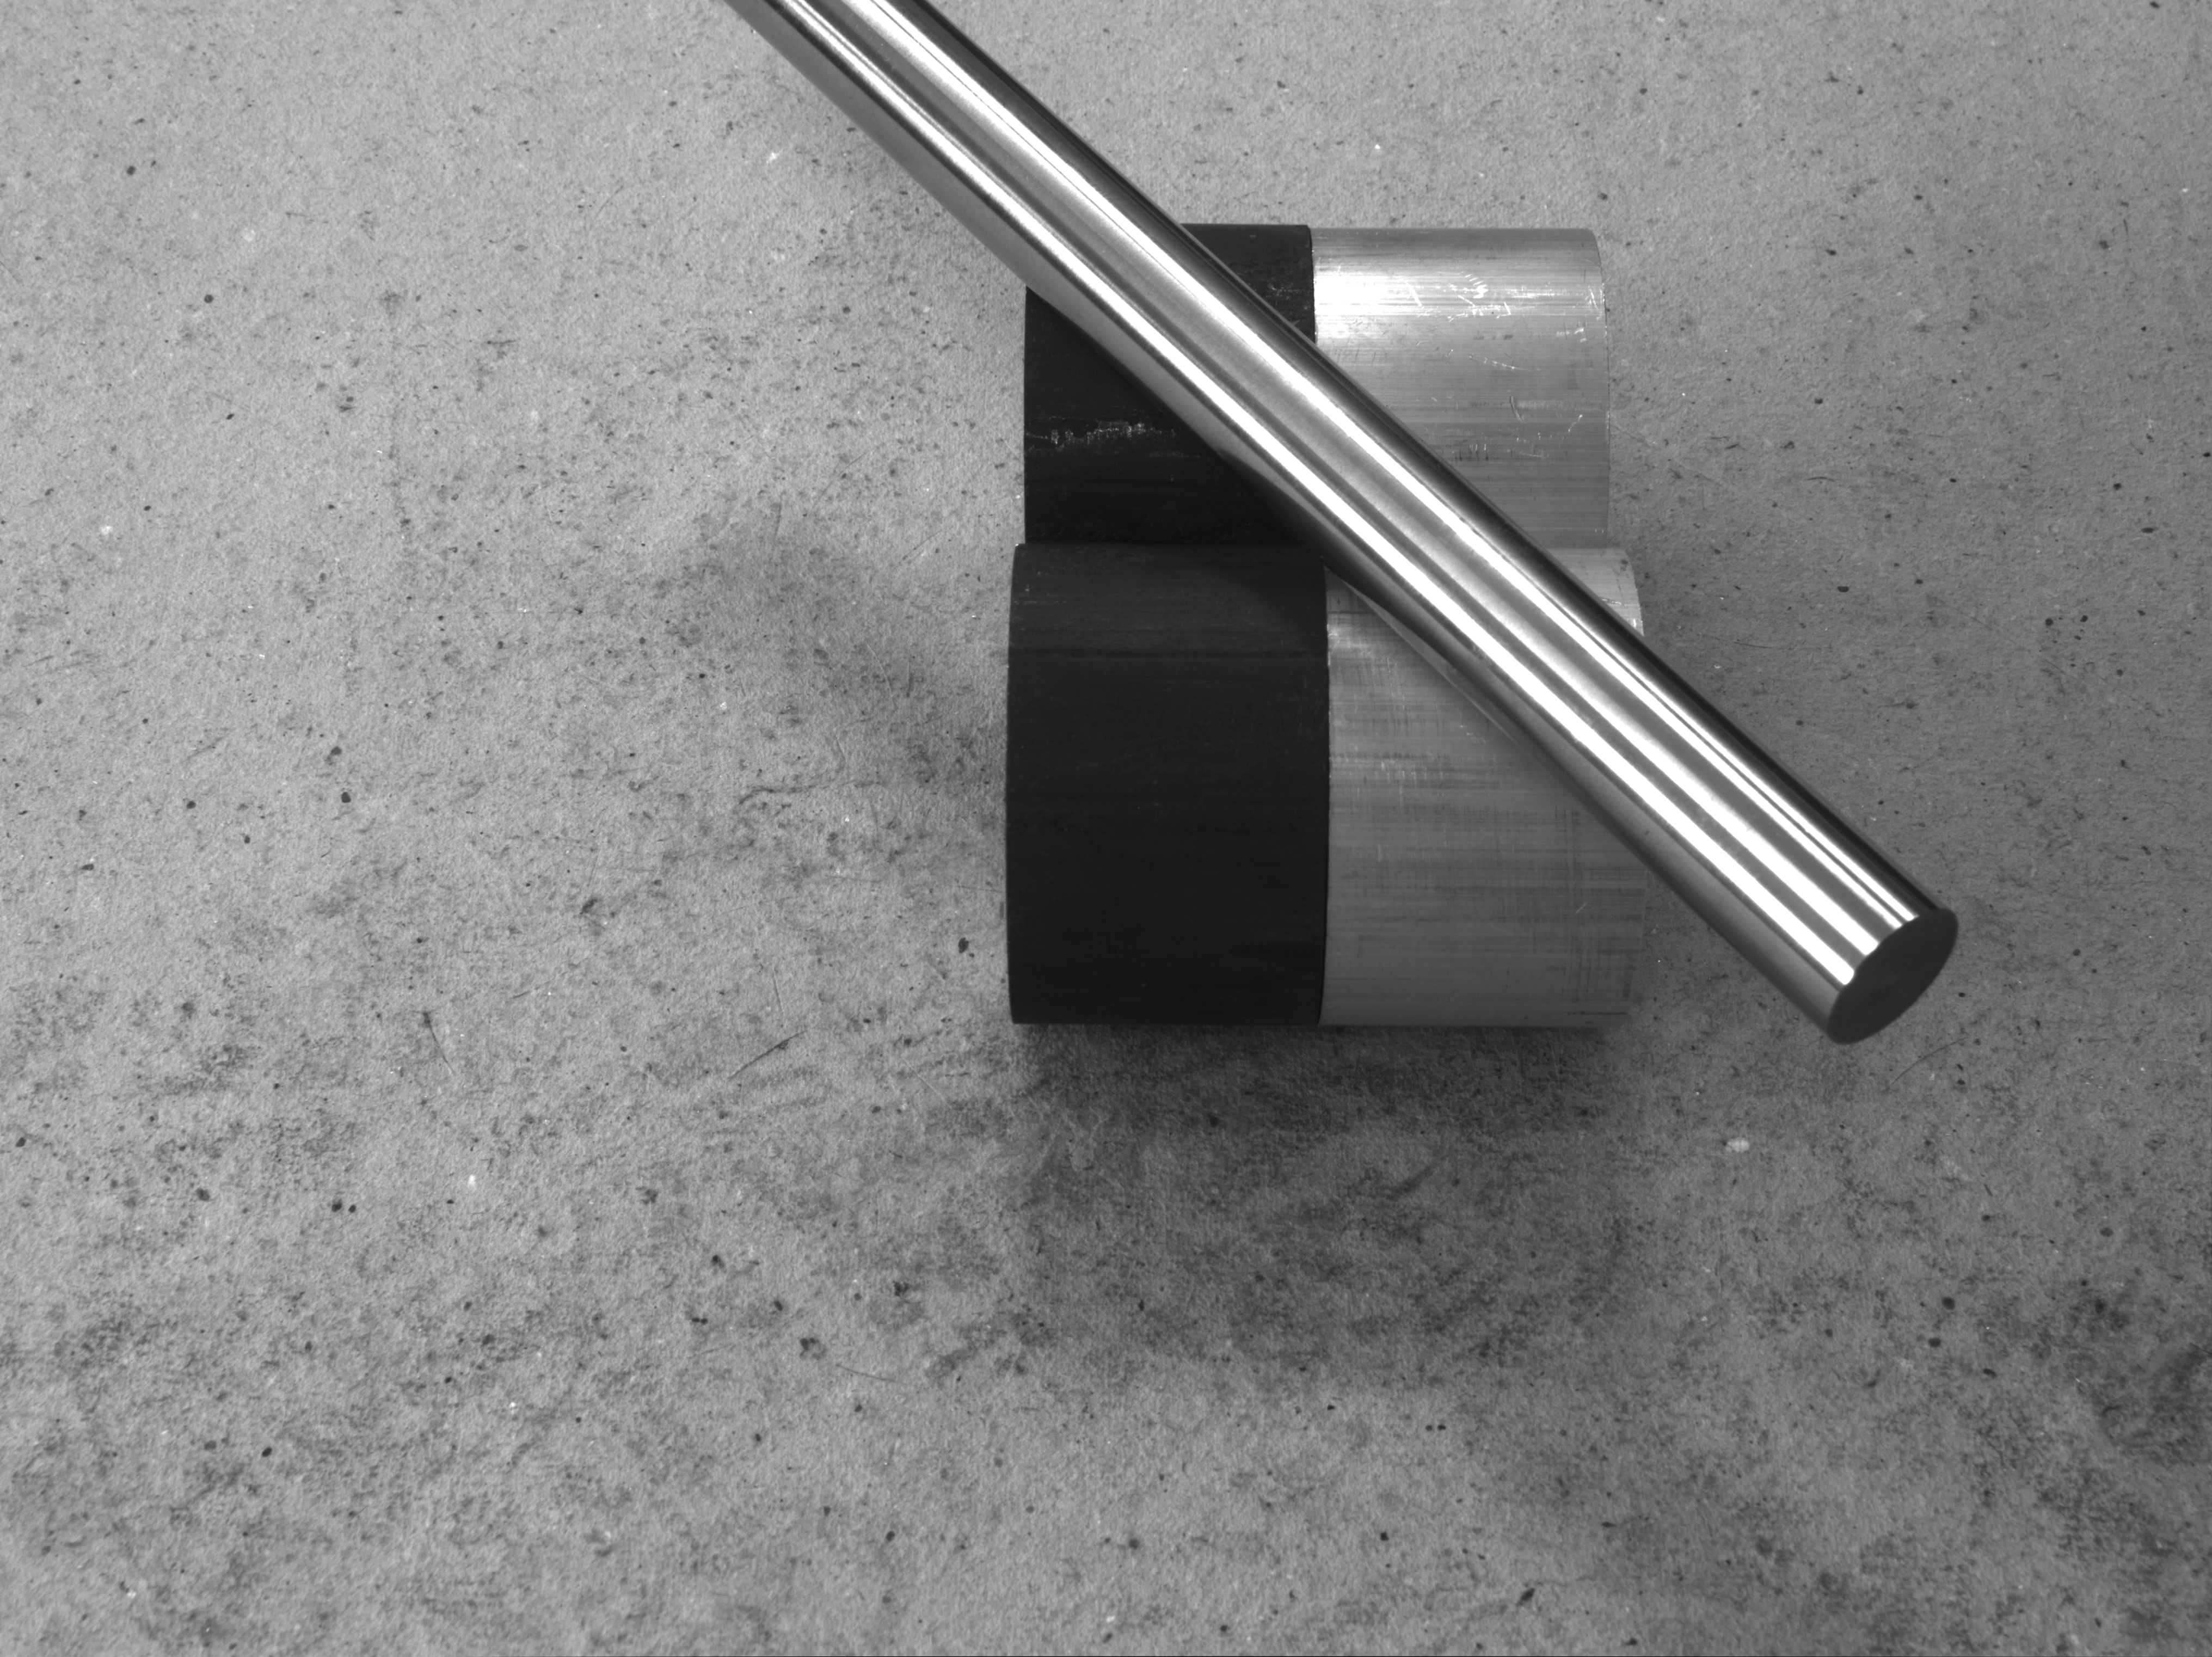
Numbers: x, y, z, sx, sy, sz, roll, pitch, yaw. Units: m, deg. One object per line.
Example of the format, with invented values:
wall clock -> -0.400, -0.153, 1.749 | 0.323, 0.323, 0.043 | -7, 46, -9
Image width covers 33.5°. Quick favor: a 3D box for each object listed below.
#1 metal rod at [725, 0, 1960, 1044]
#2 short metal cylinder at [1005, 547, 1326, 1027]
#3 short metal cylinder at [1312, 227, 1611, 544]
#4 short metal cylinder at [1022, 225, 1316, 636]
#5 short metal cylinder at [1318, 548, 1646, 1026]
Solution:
metal rod -> 0.024, -0.072, 0.598 | 0.025, 0.025, 0.299 | -29, 56, -22
short metal cylinder -> 0.010, -0.007, 0.613 | 0.050, 0.080, 0.080 | 1, 50, 1
short metal cylinder -> 0.061, -0.068, 0.665 | 0.050, 0.080, 0.080 | 1, 50, 1
short metal cylinder -> 0.011, -0.069, 0.665 | 0.050, 0.080, 0.080 | 1, 50, 1
short metal cylinder -> 0.060, -0.007, 0.613 | 0.050, 0.080, 0.080 | 1, 50, 1
